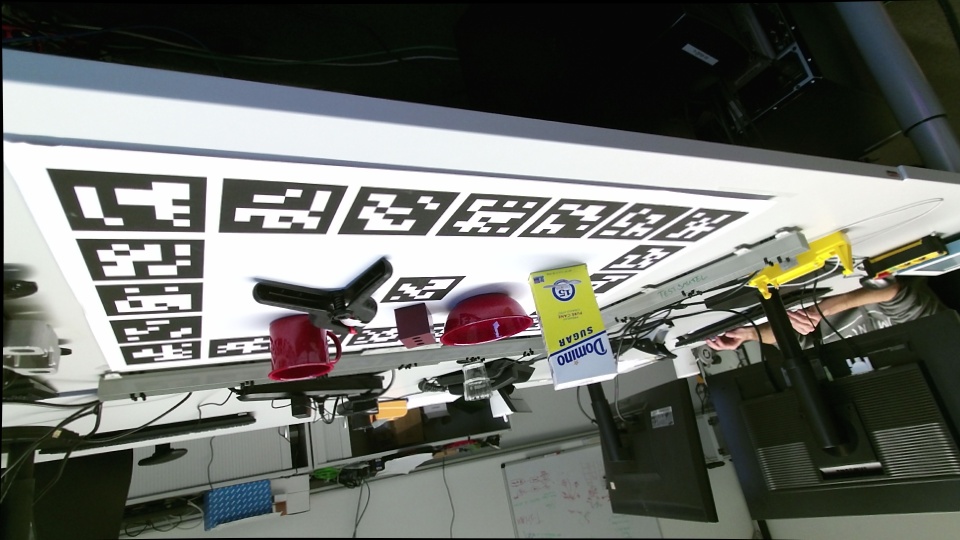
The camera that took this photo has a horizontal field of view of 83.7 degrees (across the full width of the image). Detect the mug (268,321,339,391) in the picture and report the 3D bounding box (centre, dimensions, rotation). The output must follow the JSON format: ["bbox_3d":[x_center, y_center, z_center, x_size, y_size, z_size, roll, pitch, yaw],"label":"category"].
[{"bbox_3d":[-0.265,0.131,0.809,0.093,0.081,0.117,-29,149,31],"label":"mug"}]

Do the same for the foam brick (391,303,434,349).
[{"bbox_3d":[-0.109,0.096,0.877,0.053,0.051,0.078,-14,156,-3],"label":"foam brick"}]

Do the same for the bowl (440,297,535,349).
[{"bbox_3d":[0.007,0.088,0.906,0.162,0.055,0.162,-11,156,-5],"label":"bowl"}]

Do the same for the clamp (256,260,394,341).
[{"bbox_3d":[-0.189,0.055,0.730,0.166,0.036,0.203,-13,156,-7],"label":"clamp"}]

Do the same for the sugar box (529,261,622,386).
[{"bbox_3d":[0.141,0.079,0.812,0.093,0.175,0.045,-11,155,-4],"label":"sugar box"}]
